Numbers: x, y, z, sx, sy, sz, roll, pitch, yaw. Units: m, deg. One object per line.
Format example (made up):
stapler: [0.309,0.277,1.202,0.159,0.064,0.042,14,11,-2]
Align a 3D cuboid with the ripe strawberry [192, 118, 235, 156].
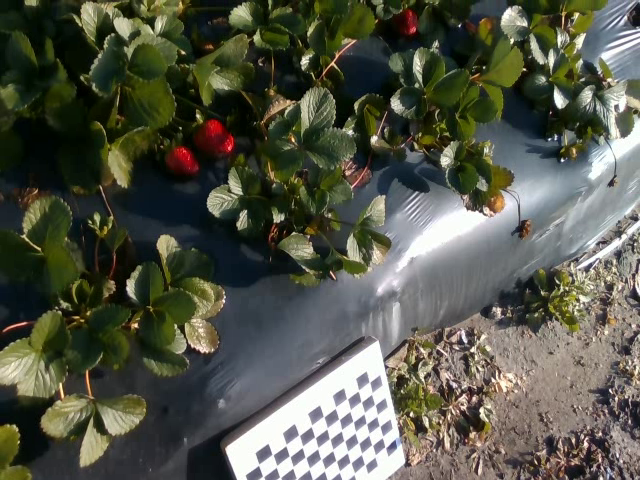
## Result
ripe strawberry: [-0.133,-0.130,0.797,0.057,0.052,0.046,34,-1,10]

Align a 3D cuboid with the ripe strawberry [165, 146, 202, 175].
ripe strawberry: [-0.171,-0.097,0.773,0.051,0.043,0.036,28,5,8]
